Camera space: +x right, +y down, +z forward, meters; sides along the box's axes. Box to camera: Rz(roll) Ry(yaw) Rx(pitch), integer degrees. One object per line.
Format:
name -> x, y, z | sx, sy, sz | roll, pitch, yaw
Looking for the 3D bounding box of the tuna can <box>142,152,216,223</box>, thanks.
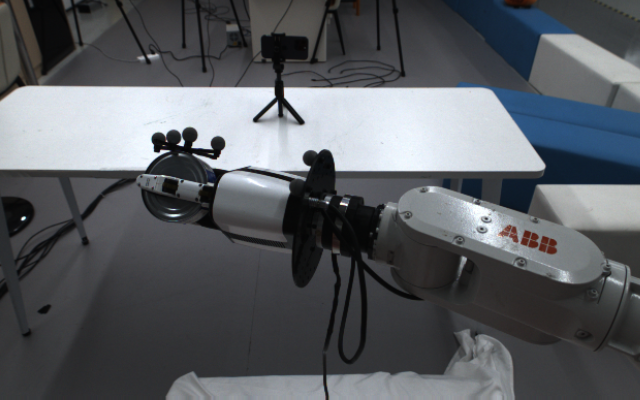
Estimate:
tuna can -> -0.168, -0.014, 0.586 | 0.085, 0.085, 0.034 | 11, -6, 13
